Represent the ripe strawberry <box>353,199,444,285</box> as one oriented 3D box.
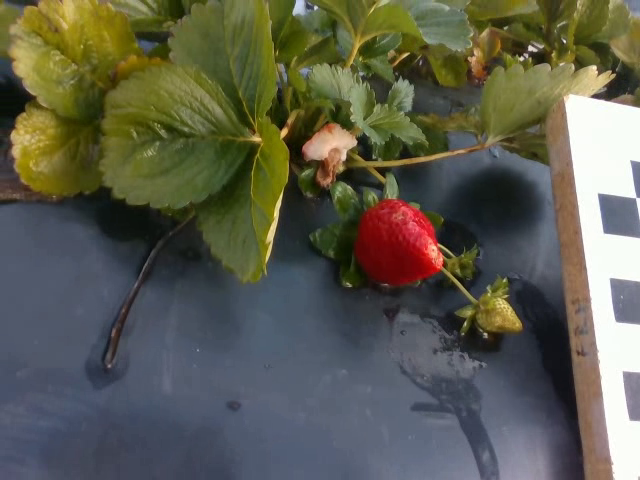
[{"bbox_3d":[0.046,0.004,0.300,0.043,0.052,0.057,-20,14,-15],"label":"ripe strawberry"}]
